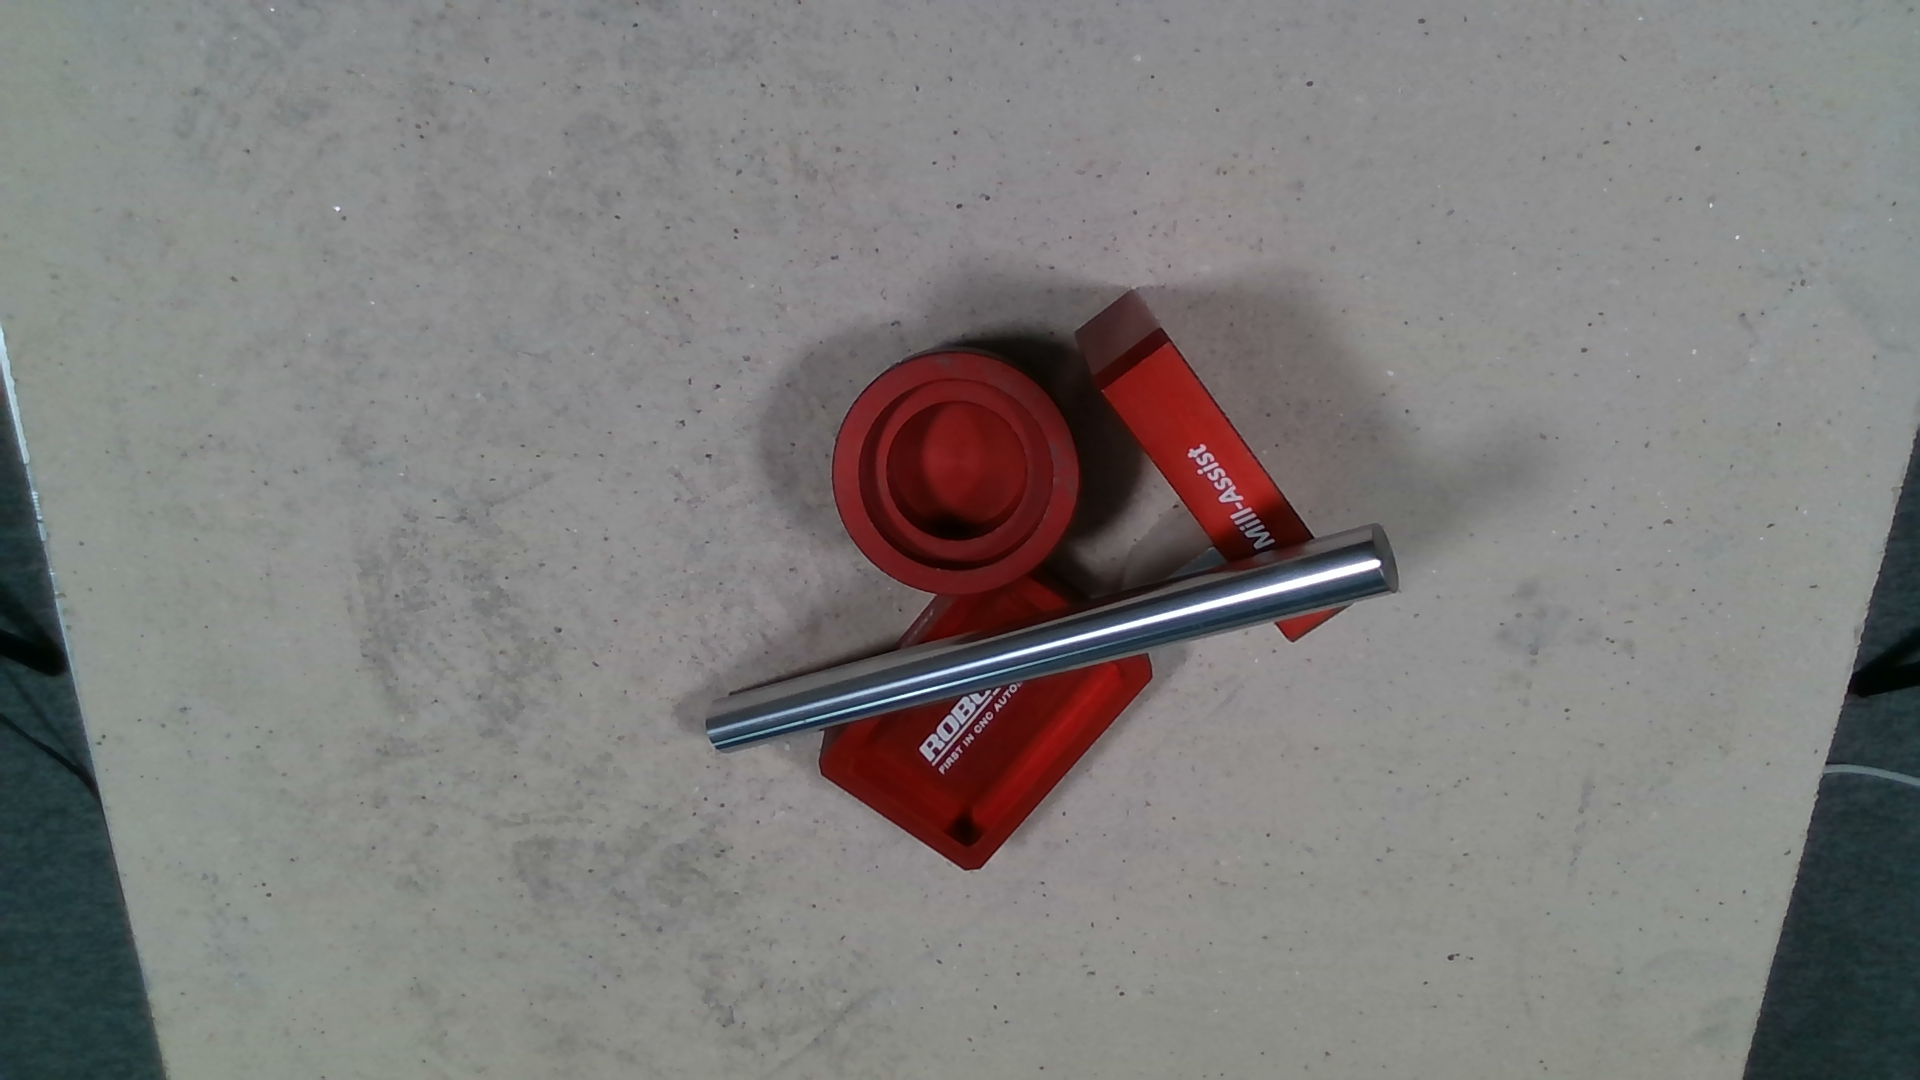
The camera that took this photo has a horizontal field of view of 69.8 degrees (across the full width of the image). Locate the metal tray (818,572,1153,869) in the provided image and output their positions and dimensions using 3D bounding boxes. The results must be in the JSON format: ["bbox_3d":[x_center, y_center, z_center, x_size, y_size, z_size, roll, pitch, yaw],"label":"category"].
[{"bbox_3d":[0.010,0.073,0.609,0.090,0.030,0.130,36,106,-12],"label":"metal tray"}]

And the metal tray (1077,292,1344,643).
[{"bbox_3d":[0.098,-0.031,0.538,0.030,0.090,0.130,-36,106,12],"label":"metal tray"}]

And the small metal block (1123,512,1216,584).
[{"bbox_3d":[0.094,0.012,0.570,0.050,0.050,0.025,-37,104,27],"label":"small metal block"}]

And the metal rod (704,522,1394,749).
[{"bbox_3d":[0.019,0.044,0.544,0.300,0.025,0.025,-17,111,29],"label":"metal rod"}]

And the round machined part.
[{"bbox_3d":[-0.001,-0.030,0.561,0.098,0.042,0.098,1,104,3],"label":"round machined part"}]
